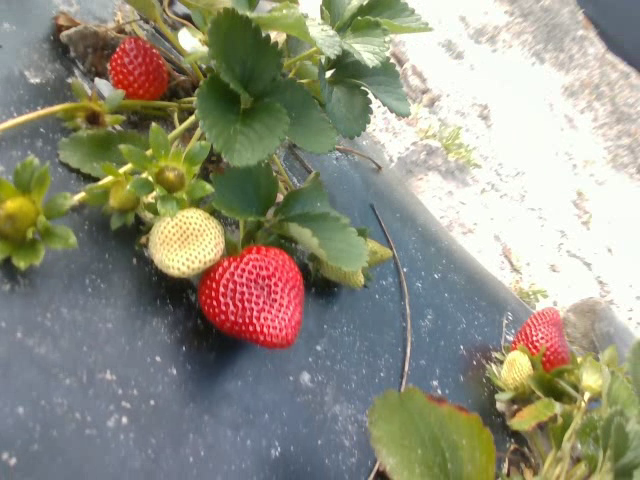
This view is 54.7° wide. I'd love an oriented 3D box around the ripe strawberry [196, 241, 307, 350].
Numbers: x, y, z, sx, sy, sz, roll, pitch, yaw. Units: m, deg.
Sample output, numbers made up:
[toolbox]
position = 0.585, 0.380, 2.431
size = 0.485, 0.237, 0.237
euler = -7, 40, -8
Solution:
[ripe strawberry]
position = -0.028, 0.029, 0.265
size = 0.051, 0.048, 0.055
euler = -18, 33, -10
